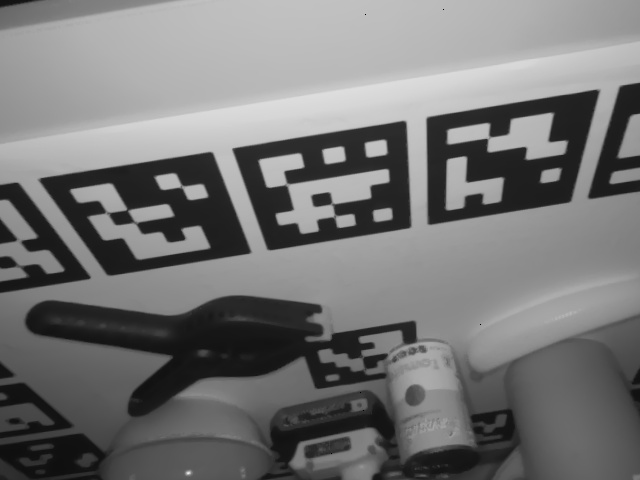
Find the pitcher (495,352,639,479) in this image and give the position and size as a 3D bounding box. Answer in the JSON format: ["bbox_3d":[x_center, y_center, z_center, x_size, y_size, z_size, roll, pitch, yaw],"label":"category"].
[{"bbox_3d":[0.226,0.231,0.608,0.187,0.244,0.134,-25,138,18],"label":"pitcher"}]

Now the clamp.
[{"bbox_3d":[-0.090,0.086,0.537,0.203,0.037,0.164,-11,134,2],"label":"clamp"}]

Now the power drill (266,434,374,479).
[{"bbox_3d":[-0.006,0.284,0.639,0.184,0.188,0.057,-11,138,4],"label":"power drill"}]

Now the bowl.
[{"bbox_3d":[-0.130,0.201,0.652,0.162,0.055,0.160,-5,136,-4],"label":"bowl"}]

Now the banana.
[{"bbox_3d":[0.206,0.081,0.595,0.195,0.039,0.075,-25,144,20],"label":"banana"}]

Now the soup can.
[{"bbox_3d":[0.092,0.157,0.609,0.068,0.102,0.067,-6,146,-3],"label":"soup can"}]
